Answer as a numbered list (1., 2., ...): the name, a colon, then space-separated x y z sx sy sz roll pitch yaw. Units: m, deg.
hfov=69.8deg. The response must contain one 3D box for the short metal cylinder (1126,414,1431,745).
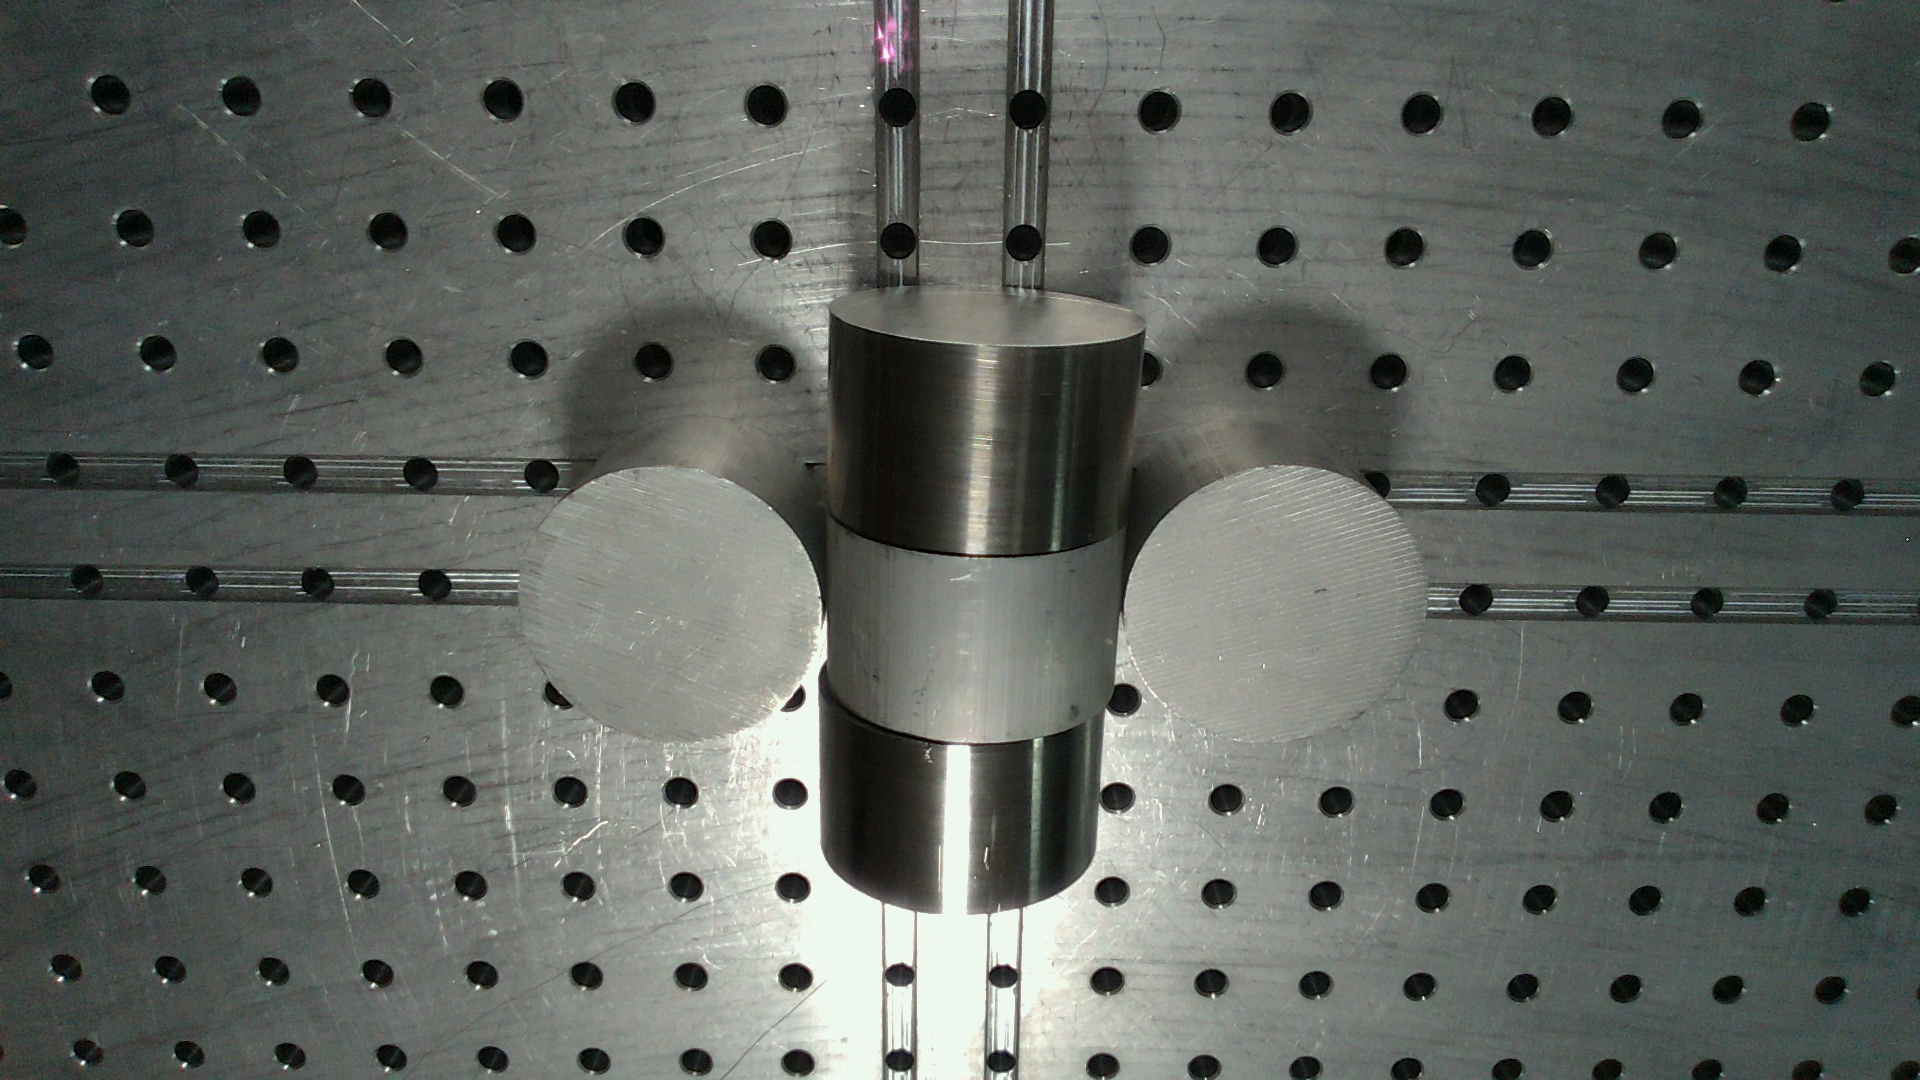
1. short metal cylinder: 0.084 0.010 0.386 0.080 0.050 0.080 0 110 0

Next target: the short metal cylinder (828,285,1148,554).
1. short metal cylinder: 0.006 -0.034 0.354 0.080 0.080 0.050 2 110 -1

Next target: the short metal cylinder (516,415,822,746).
1. short metal cylinder: -0.077 0.010 0.386 0.080 0.050 0.080 0 110 0

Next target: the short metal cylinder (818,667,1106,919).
1. short metal cylinder: 0.001 0.062 0.390 0.080 0.080 0.050 1 110 0

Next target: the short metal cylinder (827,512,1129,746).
1. short metal cylinder: 0.004 0.014 0.372 0.080 0.080 0.050 2 110 -1
